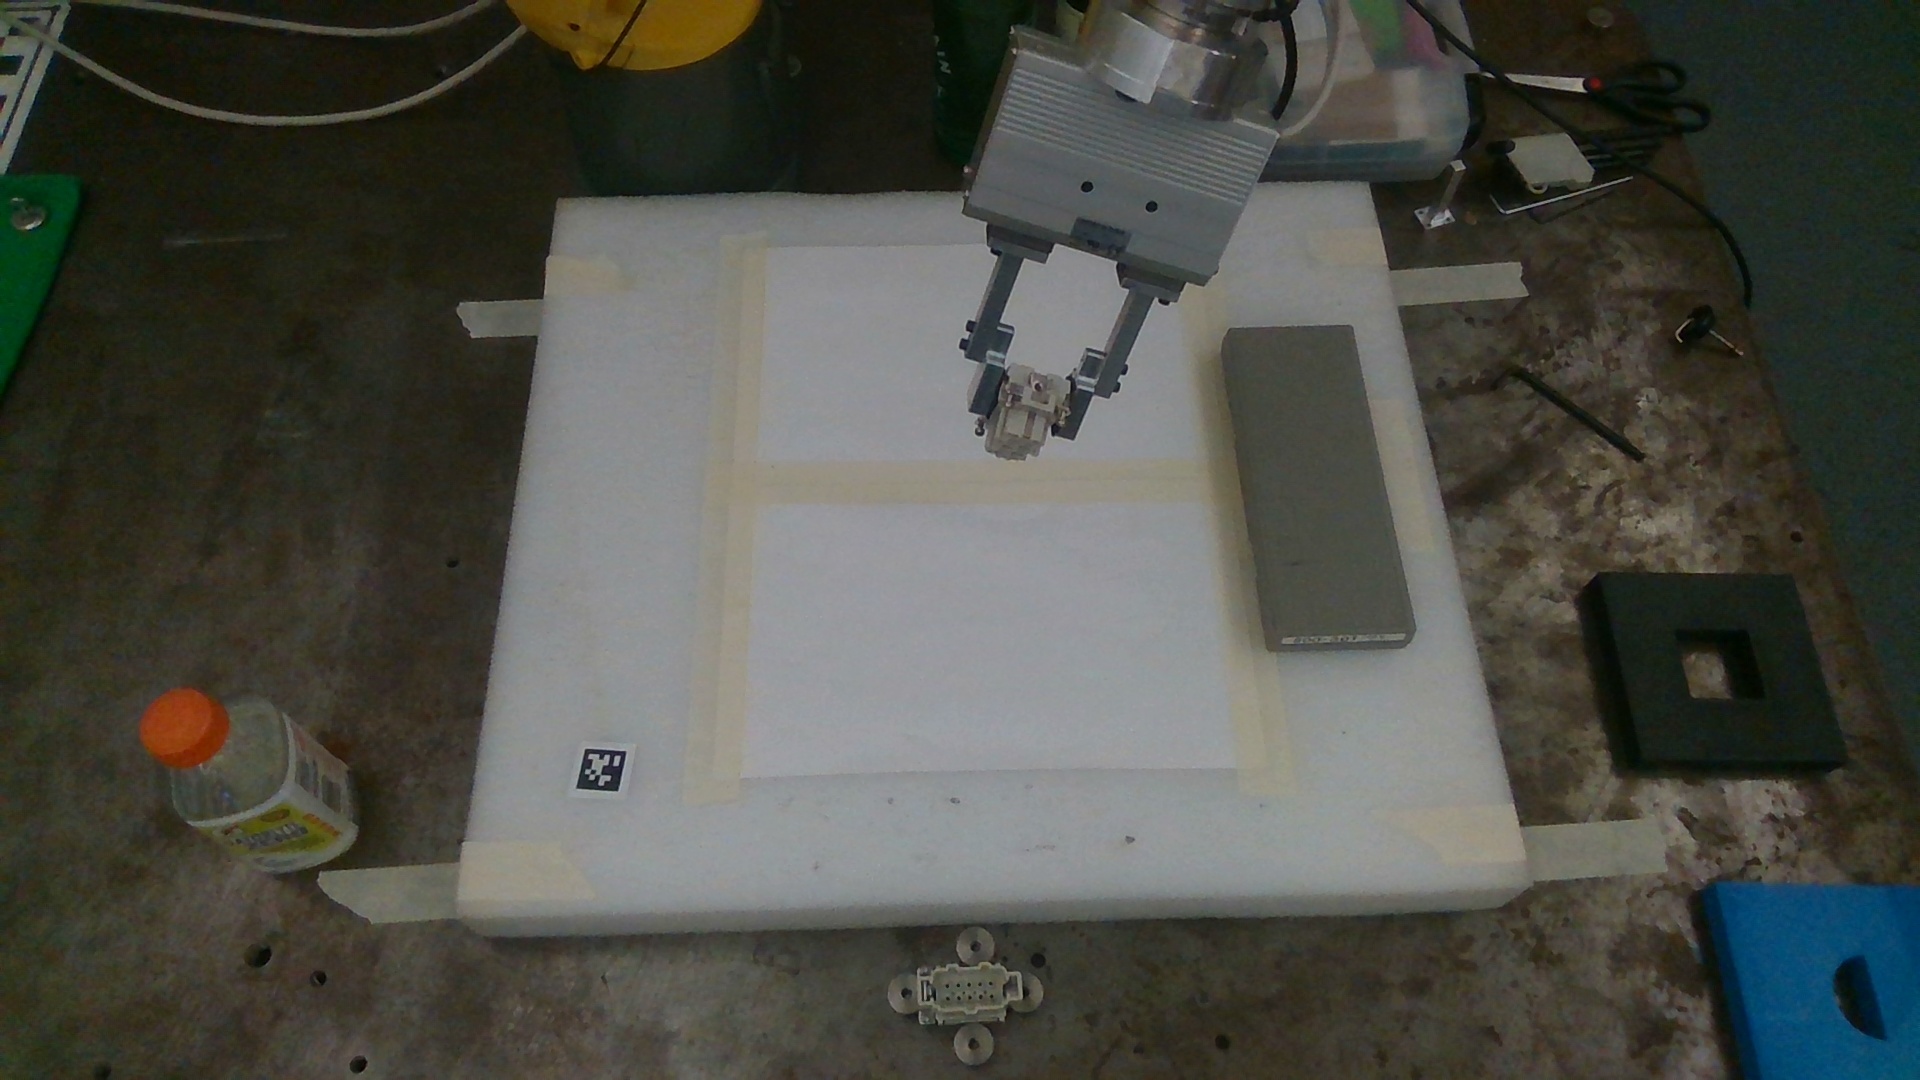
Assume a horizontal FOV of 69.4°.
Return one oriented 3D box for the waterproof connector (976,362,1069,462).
[{"bbox_3d":[0.030,-0.063,0.703,0.037,0.069,0.038,15,80,-6],"label":"waterproof connector"}]
